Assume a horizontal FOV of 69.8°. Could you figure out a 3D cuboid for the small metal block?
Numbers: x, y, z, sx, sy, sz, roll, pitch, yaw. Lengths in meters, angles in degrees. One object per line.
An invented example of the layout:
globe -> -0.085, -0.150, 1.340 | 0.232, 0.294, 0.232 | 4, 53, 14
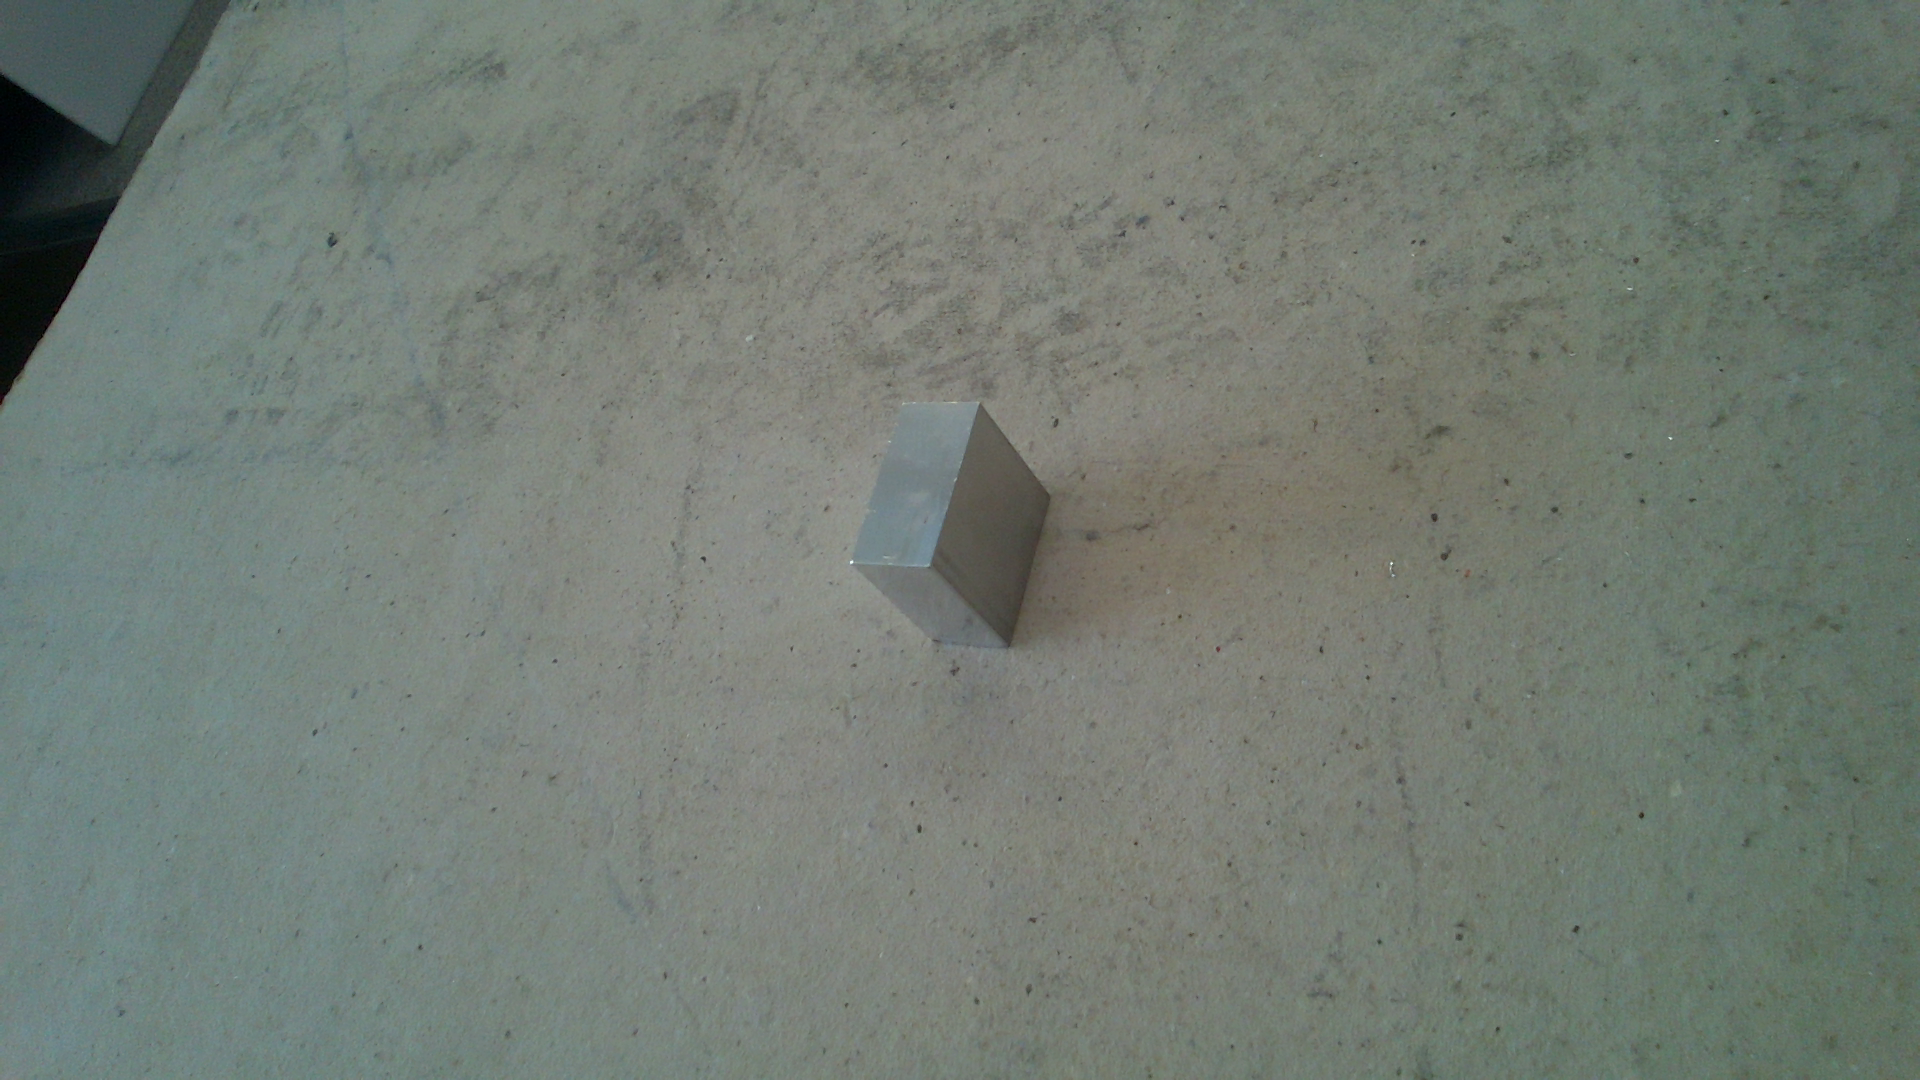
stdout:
small metal block -> -0.002, -0.004, 0.381 | 0.025, 0.050, 0.050 | 2, 63, 29
